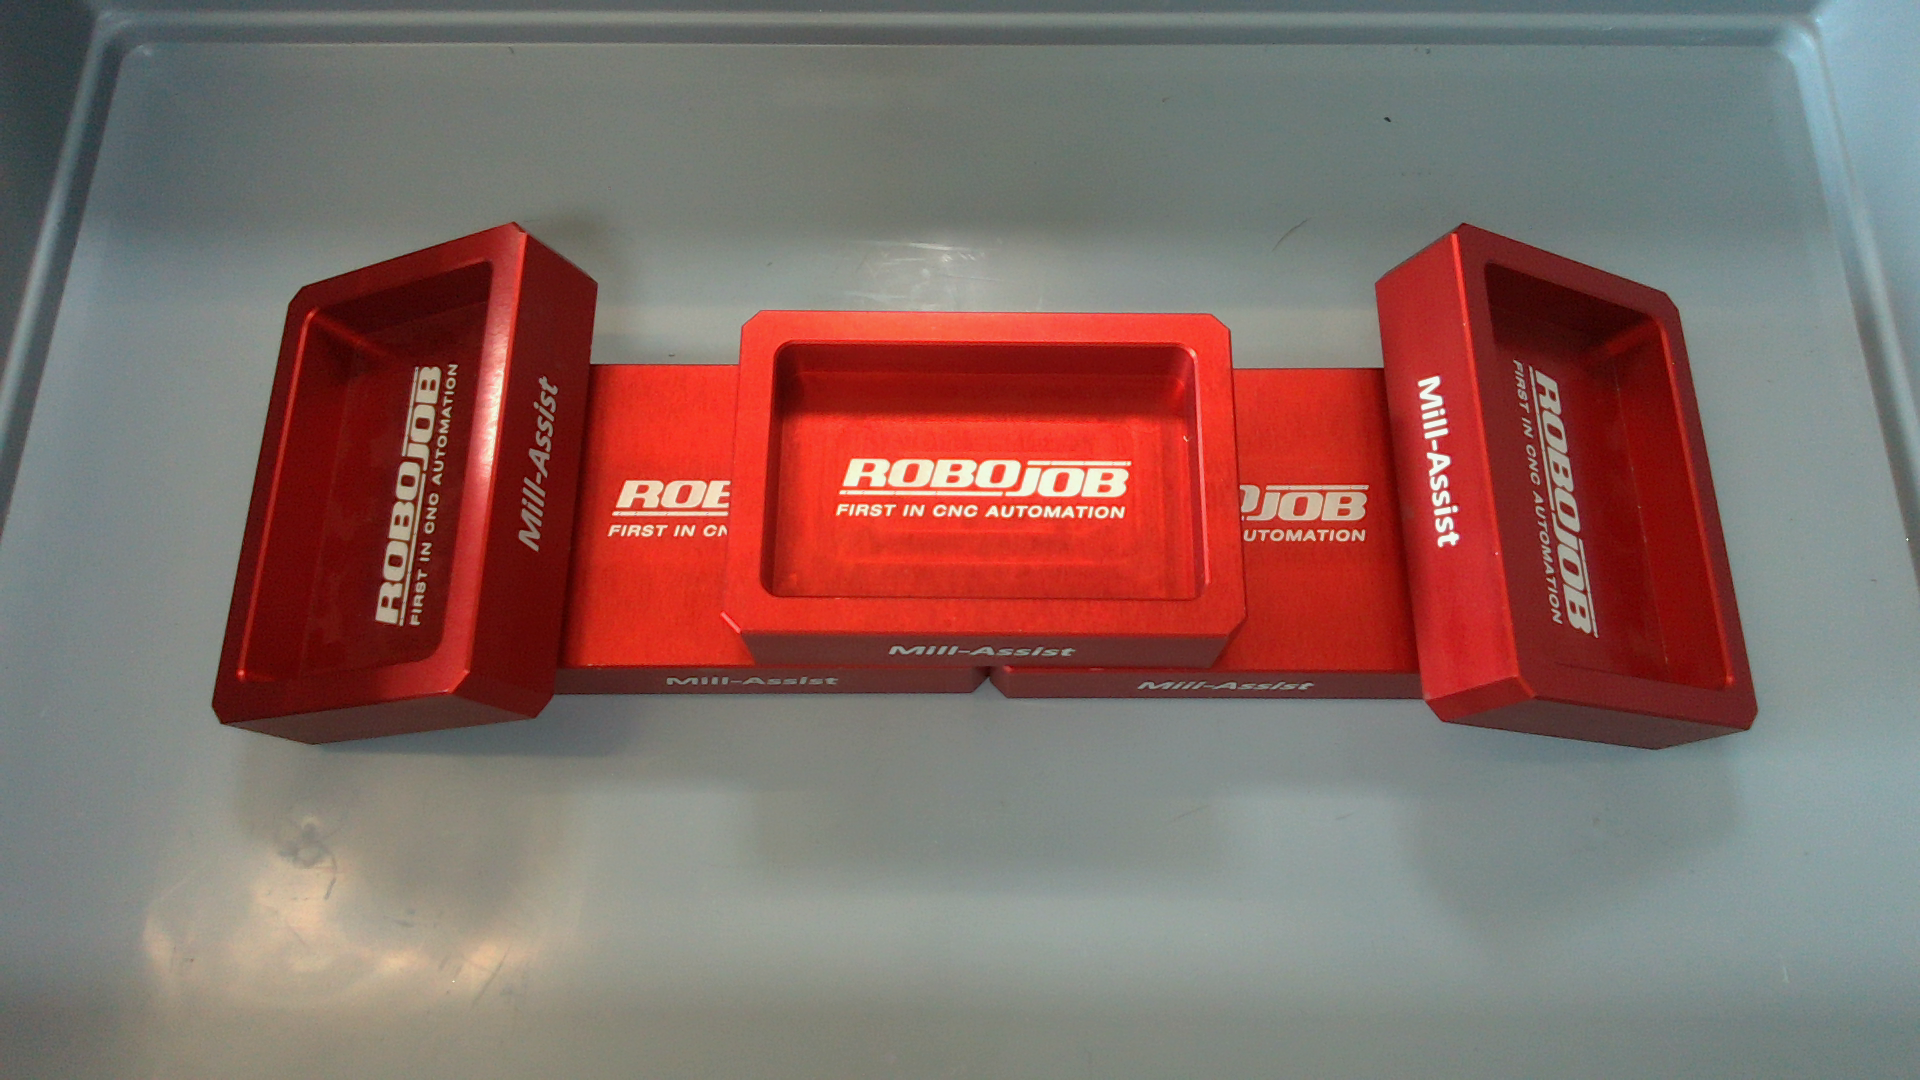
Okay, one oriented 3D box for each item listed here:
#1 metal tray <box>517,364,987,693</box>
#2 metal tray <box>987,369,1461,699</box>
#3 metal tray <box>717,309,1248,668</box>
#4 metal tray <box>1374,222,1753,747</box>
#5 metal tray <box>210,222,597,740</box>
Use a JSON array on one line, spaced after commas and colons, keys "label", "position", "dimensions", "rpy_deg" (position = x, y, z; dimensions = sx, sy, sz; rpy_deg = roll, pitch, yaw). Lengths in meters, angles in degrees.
[{"label": "metal tray", "position": [-0.057, -0.003, 0.393], "dimensions": [0.130, 0.030, 0.090], "rpy_deg": [0, 70, 0]}, {"label": "metal tray", "position": [0.072, -0.002, 0.392], "dimensions": [0.130, 0.030, 0.090], "rpy_deg": [0, 70, 0]}, {"label": "metal tray", "position": [0.006, -0.014, 0.364], "dimensions": [0.130, 0.030, 0.090], "rpy_deg": [0, 69, 0]}, {"label": "metal tray", "position": [0.163, -0.014, 0.376], "dimensions": [0.090, 0.030, 0.130], "rpy_deg": [11, 67, -26]}, {"label": "metal tray", "position": [-0.150, -0.015, 0.377], "dimensions": [0.090, 0.030, 0.130], "rpy_deg": [-9, 68, 24]}]
